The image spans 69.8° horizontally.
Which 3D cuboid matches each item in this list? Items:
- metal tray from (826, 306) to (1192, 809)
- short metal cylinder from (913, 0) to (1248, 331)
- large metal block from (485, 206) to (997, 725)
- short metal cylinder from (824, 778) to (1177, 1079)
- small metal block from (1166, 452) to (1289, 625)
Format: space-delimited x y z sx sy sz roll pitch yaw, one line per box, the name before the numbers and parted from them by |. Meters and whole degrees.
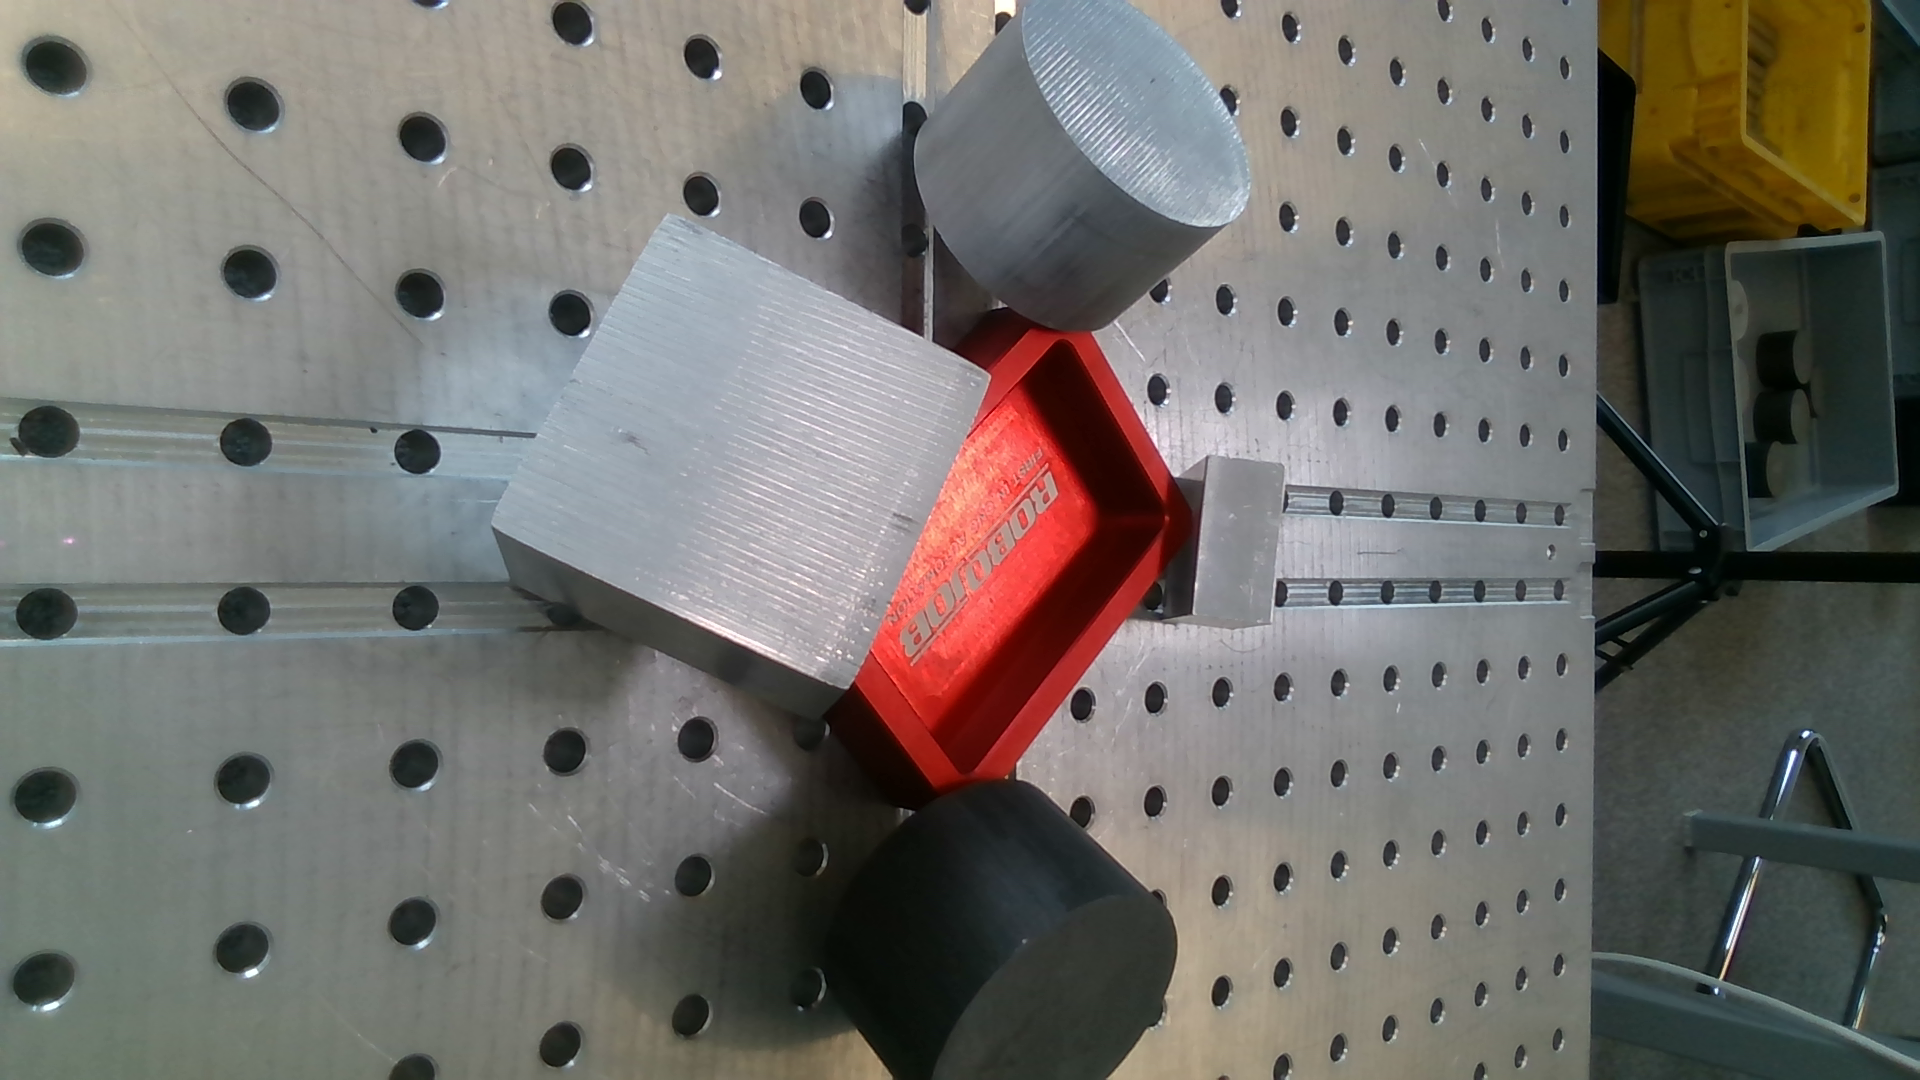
metal tray | 0.007 0.003 0.396 0.130 0.030 0.090 -49 119 -29
short metal cylinder | 0.034 -0.107 0.387 0.080 0.050 0.080 21 53 -29
large metal block | -0.049 -0.014 0.314 0.080 0.050 0.080 26 71 -5
short metal cylinder | 0.011 0.111 0.368 0.080 0.050 0.080 -21 128 -29
small metal block | 0.085 0.002 0.446 0.025 0.050 0.050 7 84 -2
